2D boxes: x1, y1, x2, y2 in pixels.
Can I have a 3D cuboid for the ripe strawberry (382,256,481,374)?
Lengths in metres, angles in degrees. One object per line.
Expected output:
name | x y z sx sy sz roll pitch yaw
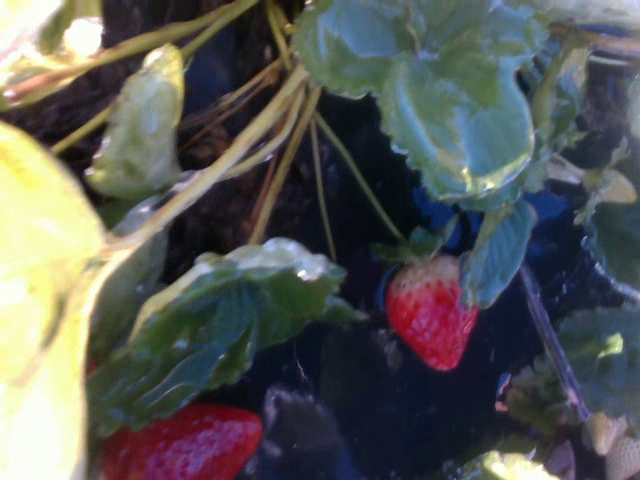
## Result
ripe strawberry | 0.043 0.027 0.221 0.039 0.047 0.040 -26 29 -27
